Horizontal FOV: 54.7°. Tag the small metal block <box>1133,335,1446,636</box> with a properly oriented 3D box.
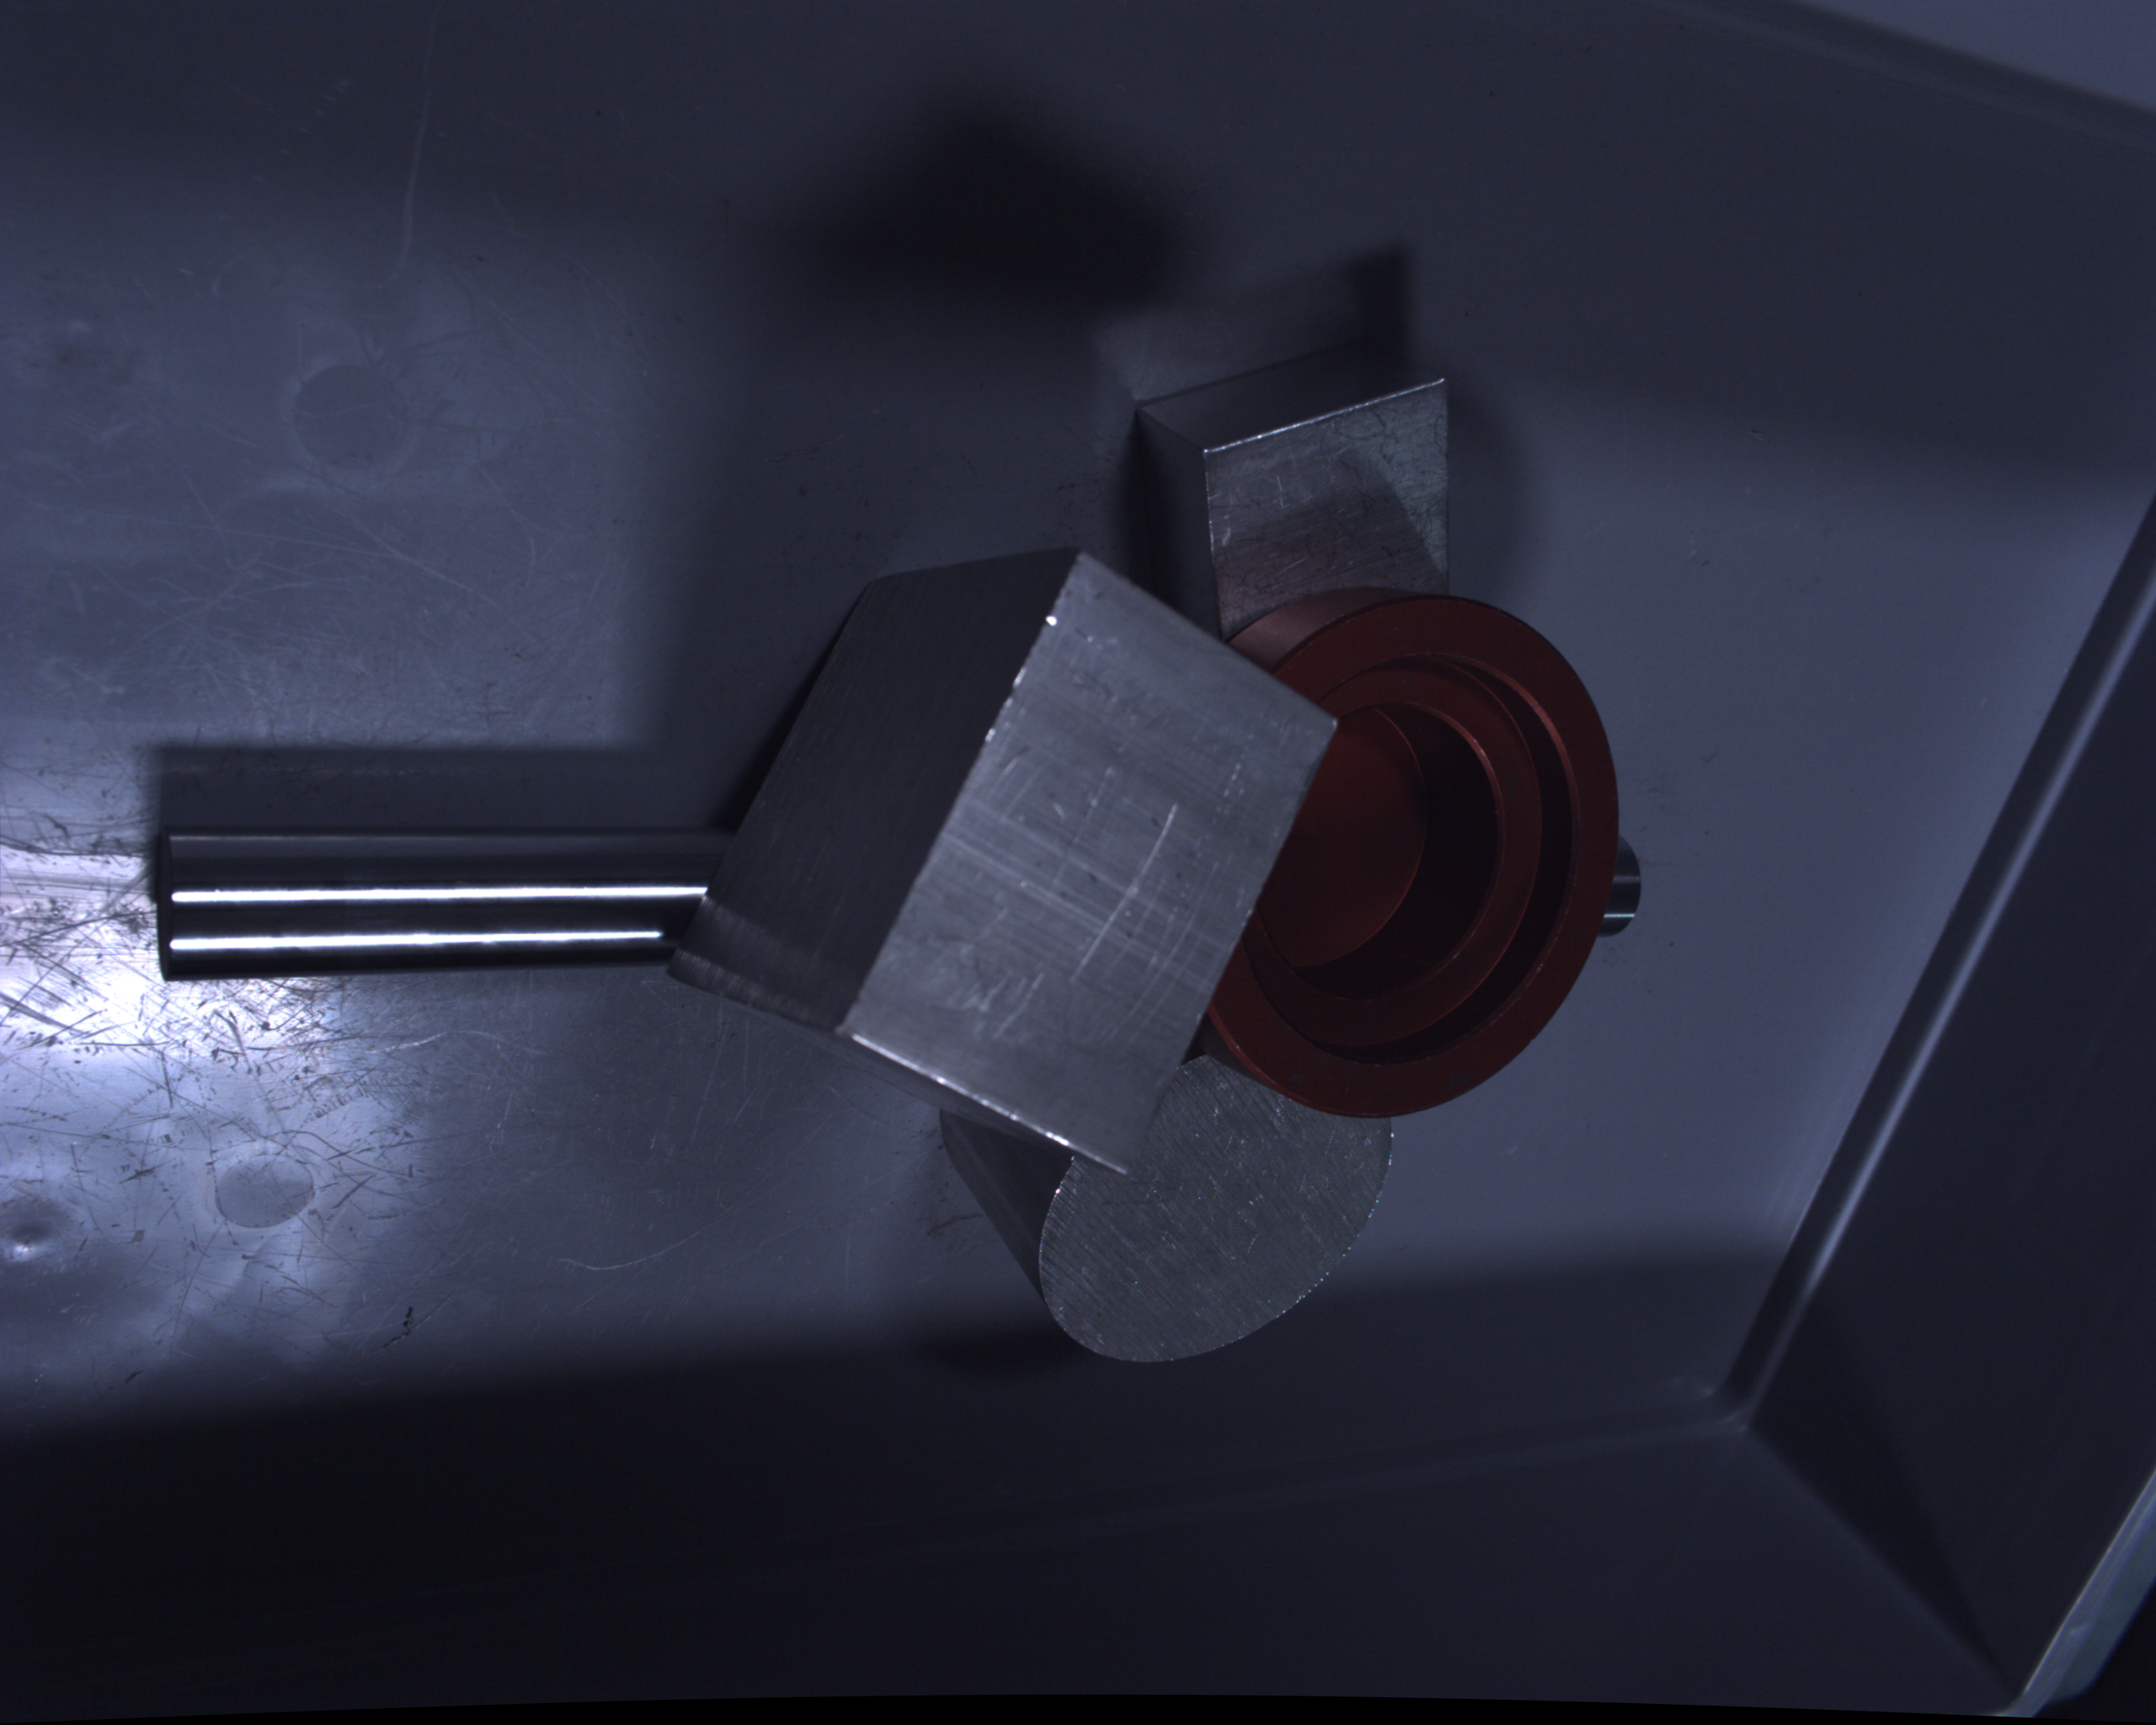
[{"bbox_3d":[0.041,-0.065,0.391,0.050,0.025,0.050,-19,126,-17],"label":"small metal block"}]

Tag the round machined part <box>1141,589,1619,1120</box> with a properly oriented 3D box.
[{"bbox_3d":[0.052,-0.004,0.399,0.099,0.042,0.097,-7,104,-27],"label":"round machined part"}]

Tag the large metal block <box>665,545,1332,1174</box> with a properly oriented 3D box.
[{"bbox_3d":[-0.016,-0.002,0.344,0.050,0.080,0.080,30,79,-27],"label":"large metal block"}]

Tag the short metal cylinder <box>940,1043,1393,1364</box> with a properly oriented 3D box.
[{"bbox_3d":[0.018,0.057,0.436,0.081,0.050,0.079,-14,125,-21],"label":"short metal cylinder"}]

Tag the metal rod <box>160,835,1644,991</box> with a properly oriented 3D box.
[{"bbox_3d":[-0.012,0.007,0.404,0.303,0.025,0.025,0,119,-29],"label":"metal rod"}]
